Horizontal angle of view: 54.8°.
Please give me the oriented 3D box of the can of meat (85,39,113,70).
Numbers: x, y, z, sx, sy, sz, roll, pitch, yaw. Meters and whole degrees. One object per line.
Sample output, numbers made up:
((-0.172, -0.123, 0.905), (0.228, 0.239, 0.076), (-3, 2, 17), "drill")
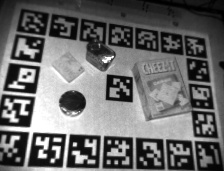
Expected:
((-0.053, -0.111, 0.810), (0.102, 0.083, 0.058), (33, 67, 2), "can of meat")

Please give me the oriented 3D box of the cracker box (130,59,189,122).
((0.180, 0.013, 0.825), (0.165, 0.072, 0.212), (-10, 72, -18), "cracker box")

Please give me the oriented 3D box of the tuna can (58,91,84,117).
((-0.140, 0.063, 0.743), (0.086, 0.033, 0.085), (4, 73, -11), "tuna can")

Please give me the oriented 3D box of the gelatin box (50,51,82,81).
((-0.168, -0.072, 0.790), (0.089, 0.030, 0.074), (46, 64, 2), "gelatin box")
